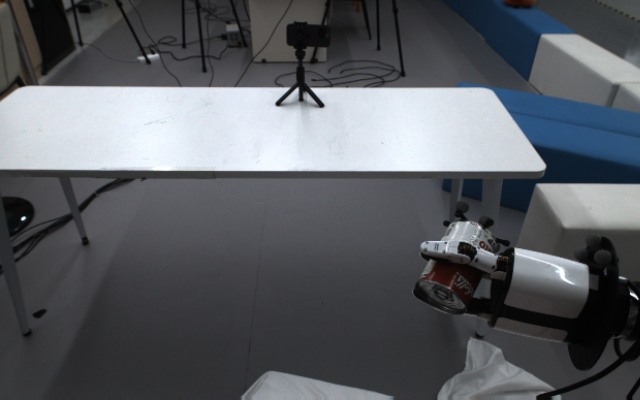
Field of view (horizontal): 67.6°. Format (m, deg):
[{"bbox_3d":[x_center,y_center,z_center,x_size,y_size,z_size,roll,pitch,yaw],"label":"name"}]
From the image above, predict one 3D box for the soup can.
[{"bbox_3d":[0.175,0.082,0.611,0.067,0.067,0.101,22,60,27],"label":"soup can"}]
